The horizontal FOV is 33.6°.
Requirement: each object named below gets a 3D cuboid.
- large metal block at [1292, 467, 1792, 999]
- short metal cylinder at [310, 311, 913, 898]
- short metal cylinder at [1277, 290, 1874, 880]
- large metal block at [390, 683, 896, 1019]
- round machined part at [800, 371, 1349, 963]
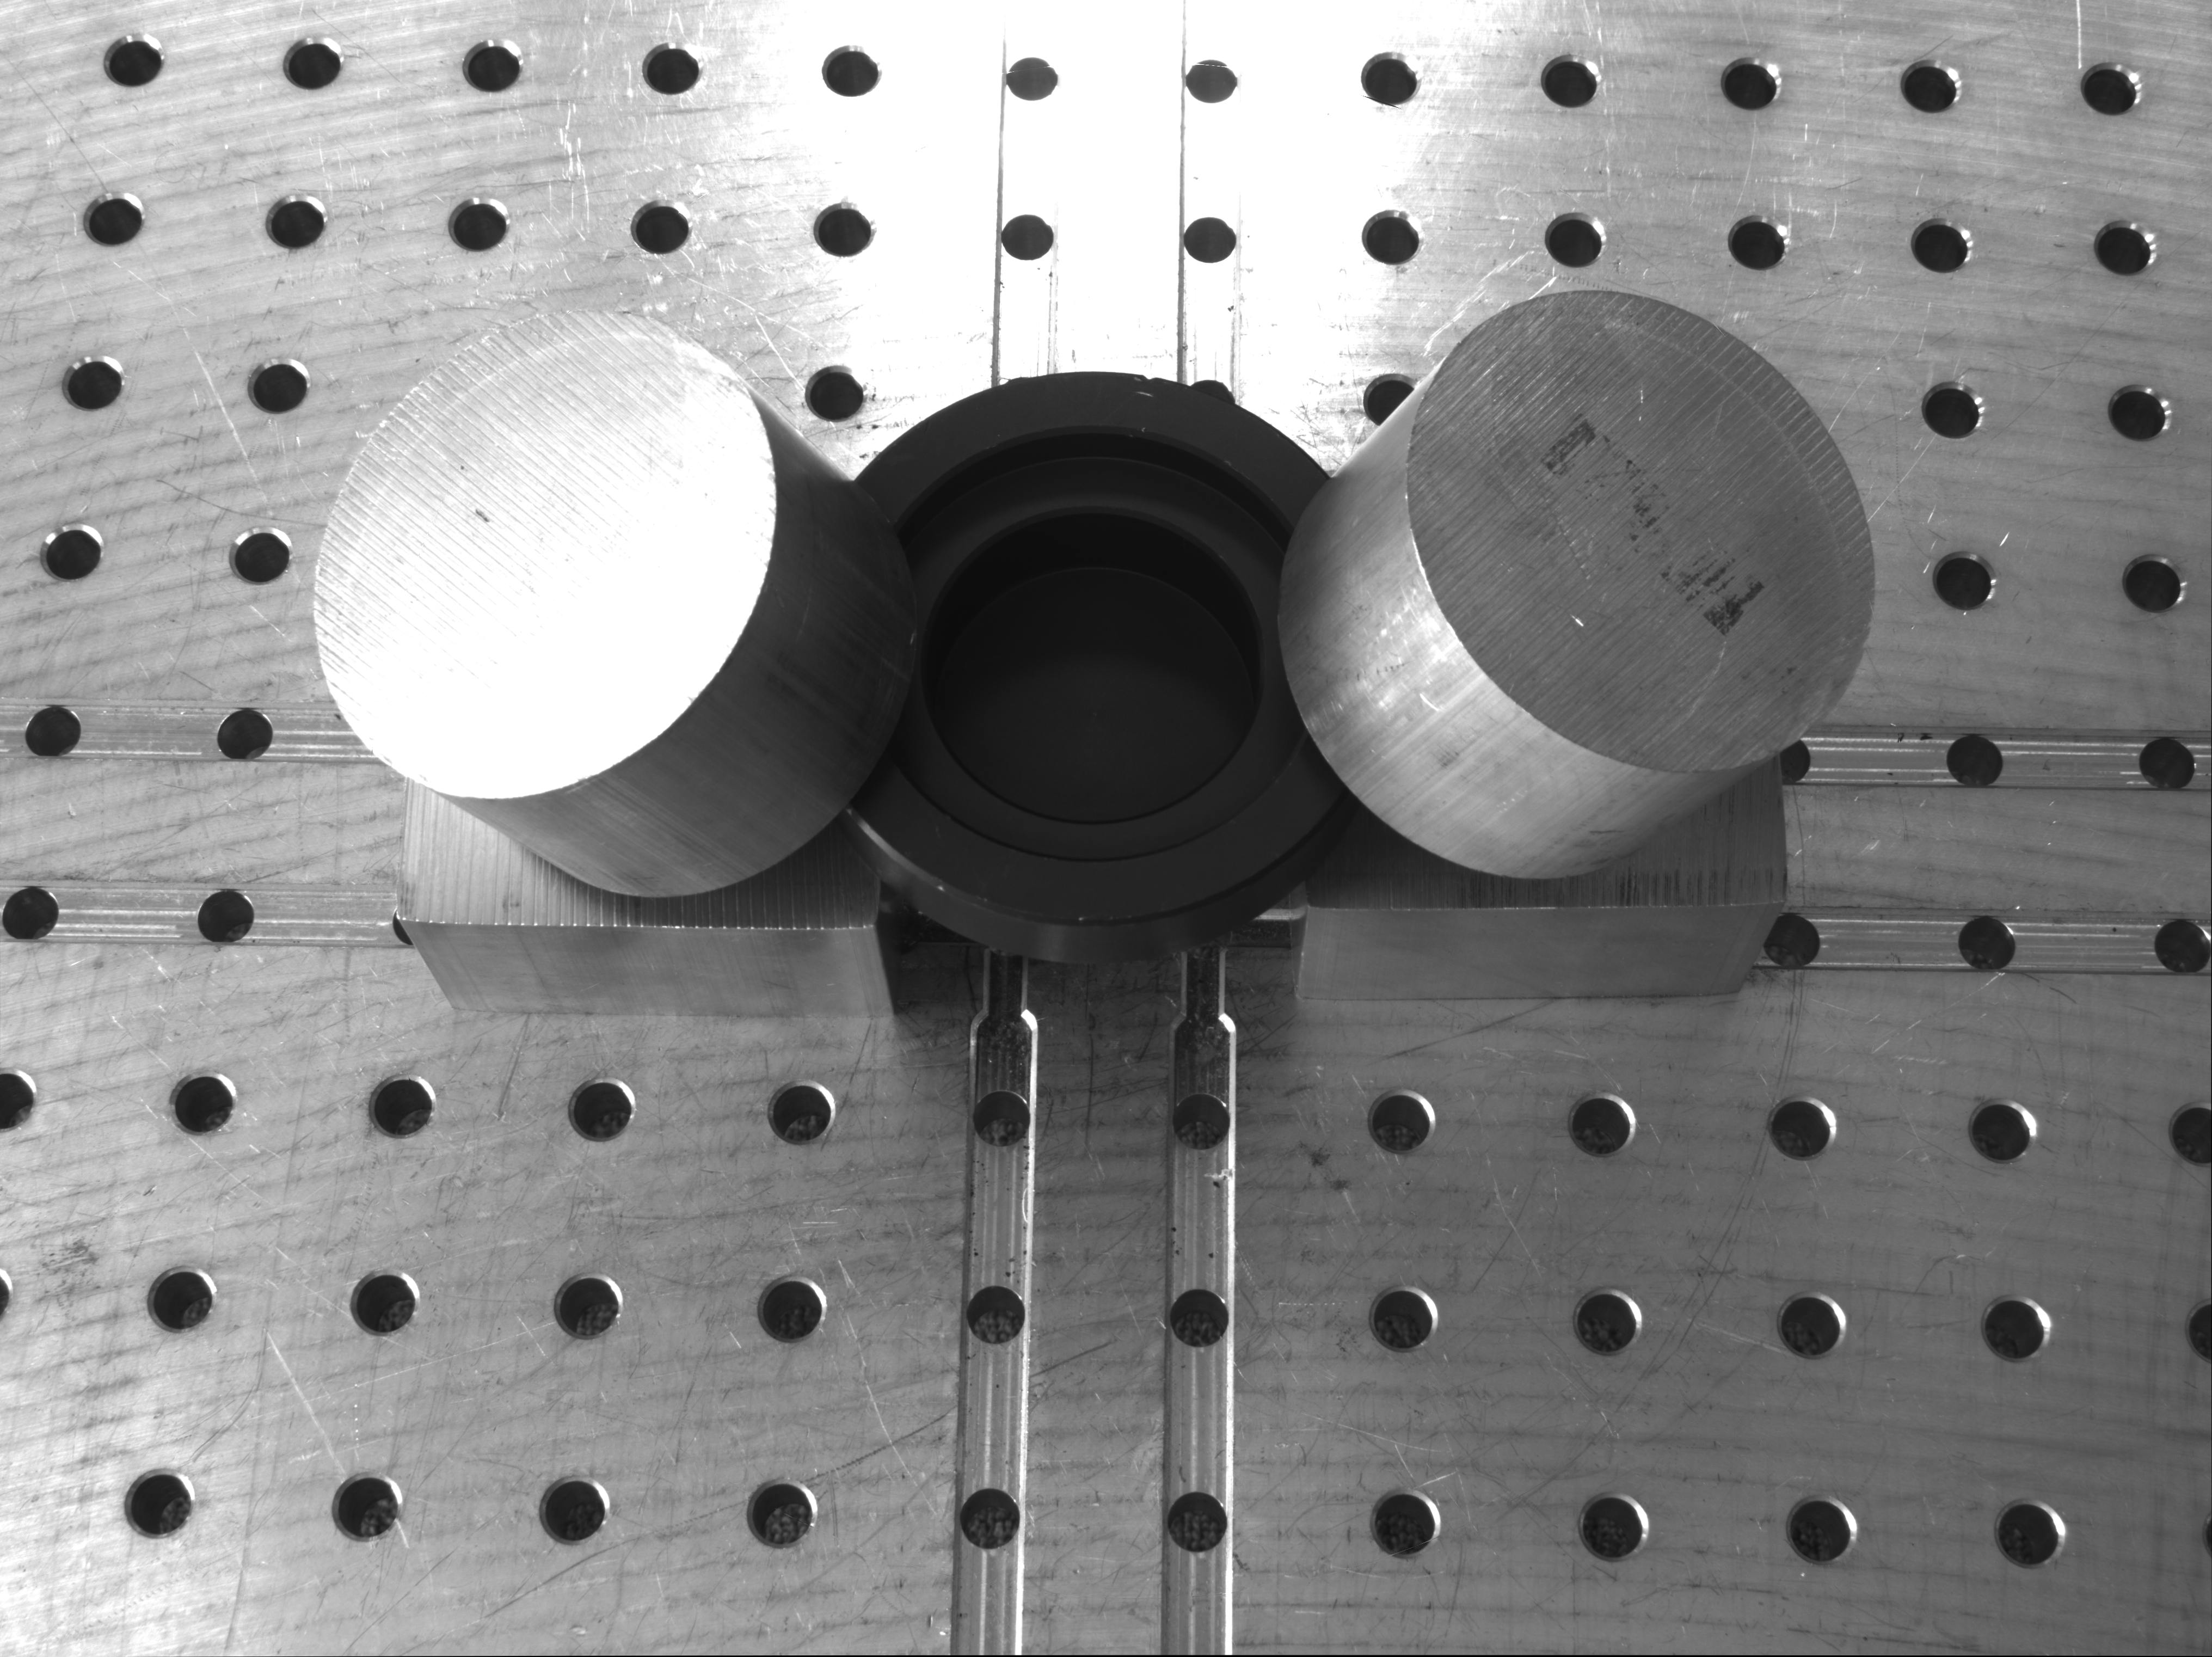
[{"bbox_3d":[0.073,-0.016,0.640,0.080,0.050,0.080,-1,70,0],"label":"large metal block"},{"bbox_3d":[-0.077,-0.034,0.579,0.080,0.050,0.080,-7,69,20],"label":"short metal cylinder"},{"bbox_3d":[0.074,-0.038,0.581,0.080,0.050,0.080,7,68,-19],"label":"short metal cylinder"},{"bbox_3d":[-0.077,-0.013,0.638,0.080,0.050,0.080,1,70,0],"label":"large metal block"},{"bbox_3d":[-0.002,-0.024,0.616,0.098,0.042,0.098,0,70,0],"label":"round machined part"}]
